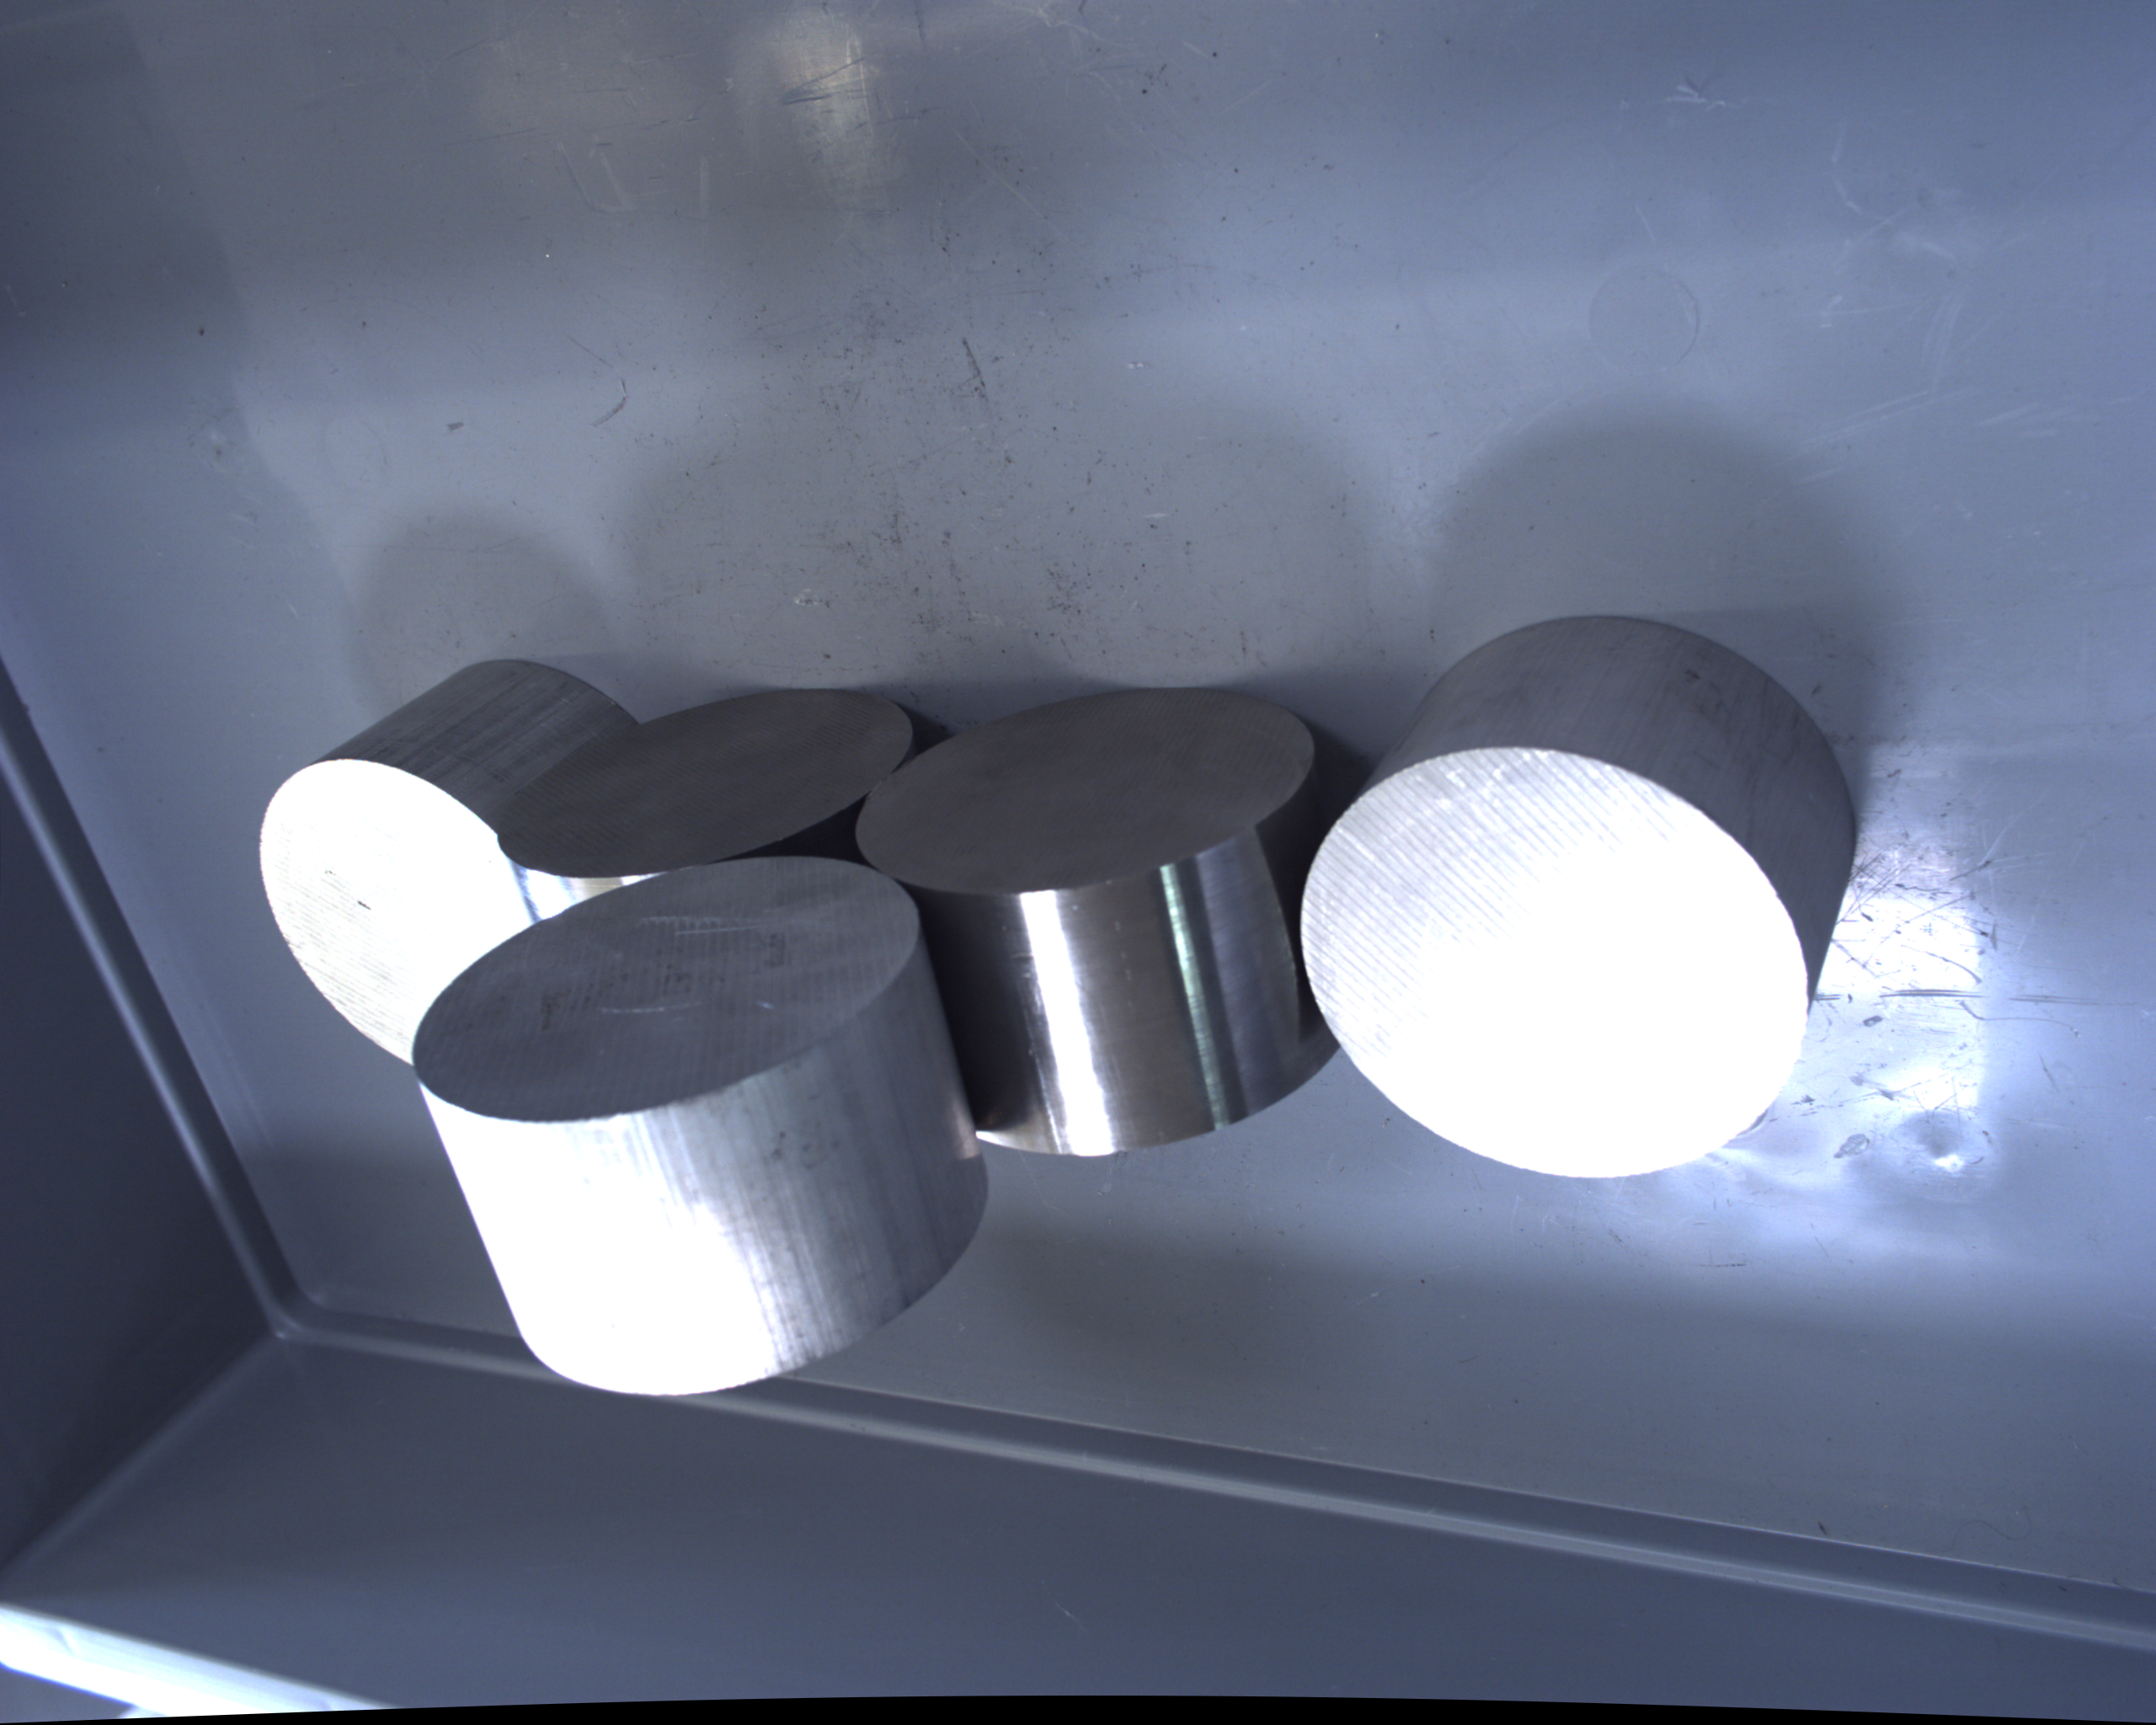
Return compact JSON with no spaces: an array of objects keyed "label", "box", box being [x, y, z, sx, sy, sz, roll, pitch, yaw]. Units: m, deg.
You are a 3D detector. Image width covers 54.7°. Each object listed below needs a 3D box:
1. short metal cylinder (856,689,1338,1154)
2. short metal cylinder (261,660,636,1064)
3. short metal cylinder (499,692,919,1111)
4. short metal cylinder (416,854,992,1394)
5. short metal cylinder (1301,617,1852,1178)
[{"label":"short metal cylinder","box":[0.006,0.008,0.373,0.080,0.080,0.050,2,119,27]},{"label":"short metal cylinder","box":[-0.130,0.002,0.460,0.080,0.050,0.079,13,124,21]},{"label":"short metal cylinder","box":[-0.066,0.006,0.409,0.080,0.080,0.050,2,119,27]},{"label":"short metal cylinder","box":[-0.059,0.039,0.338,0.080,0.080,0.050,2,119,27]},{"label":"short metal cylinder","box":[0.084,0.005,0.349,0.080,0.050,0.079,13,124,21]}]
